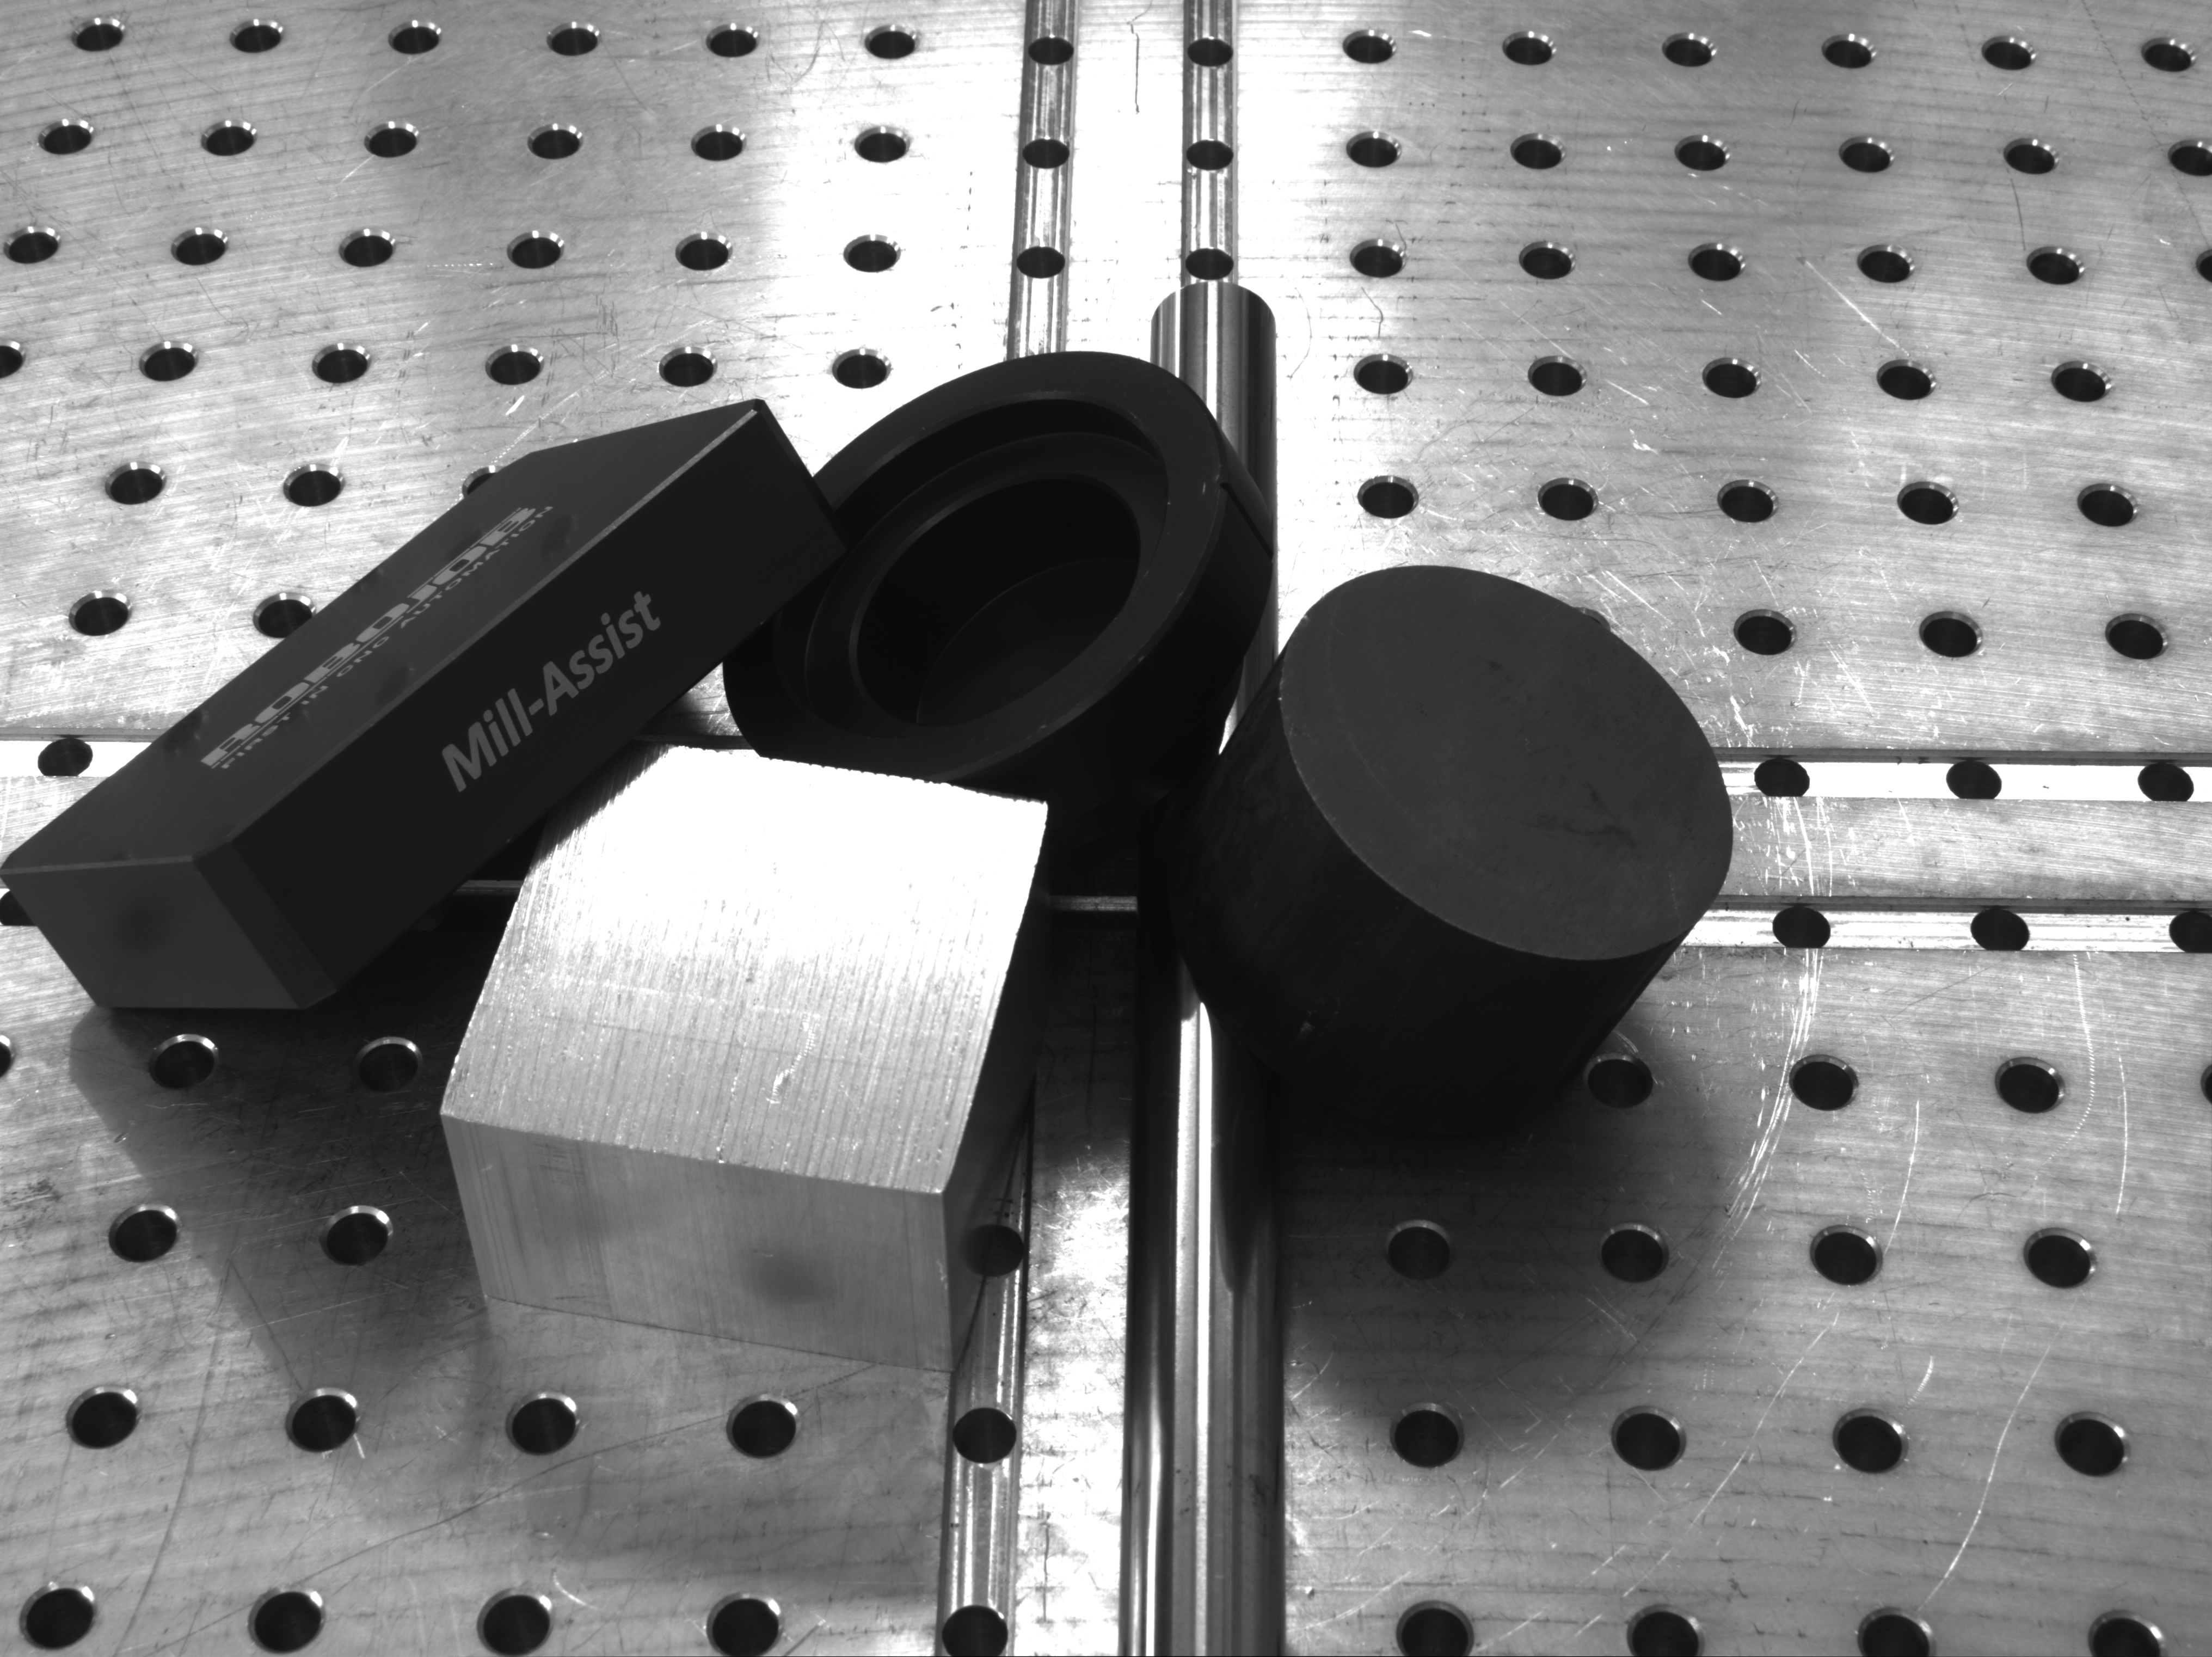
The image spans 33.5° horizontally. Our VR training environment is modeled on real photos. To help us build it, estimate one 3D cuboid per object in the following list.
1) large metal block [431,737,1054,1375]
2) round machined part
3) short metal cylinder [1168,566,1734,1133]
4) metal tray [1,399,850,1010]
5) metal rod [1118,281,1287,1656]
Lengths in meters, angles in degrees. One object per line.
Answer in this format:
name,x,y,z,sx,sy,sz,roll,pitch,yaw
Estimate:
large metal block,-0.056,0.036,0.599,0.080,0.050,0.080,8,50,7
round machined part,-0.015,-0.034,0.647,0.098,0.042,0.098,-18,46,19
short metal cylinder,0.057,0.003,0.610,0.080,0.050,0.080,13,48,-15
metal tray,-0.116,-0.021,0.628,0.130,0.030,0.090,-44,24,-30
metal rod,0.018,0.015,0.634,0.025,0.025,0.300,1,50,1
